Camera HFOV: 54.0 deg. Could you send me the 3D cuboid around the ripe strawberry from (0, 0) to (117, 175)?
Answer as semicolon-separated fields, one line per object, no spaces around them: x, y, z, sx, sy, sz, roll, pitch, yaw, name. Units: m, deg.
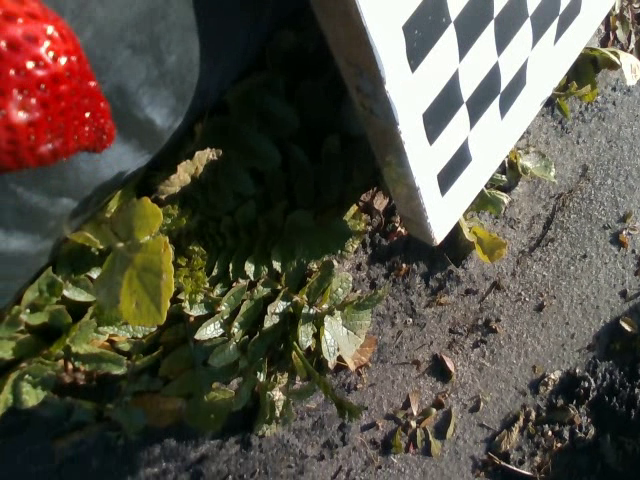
-0.052;-0.026;0.113;0.044;0.040;0.036;19;15;-49;ripe strawberry
